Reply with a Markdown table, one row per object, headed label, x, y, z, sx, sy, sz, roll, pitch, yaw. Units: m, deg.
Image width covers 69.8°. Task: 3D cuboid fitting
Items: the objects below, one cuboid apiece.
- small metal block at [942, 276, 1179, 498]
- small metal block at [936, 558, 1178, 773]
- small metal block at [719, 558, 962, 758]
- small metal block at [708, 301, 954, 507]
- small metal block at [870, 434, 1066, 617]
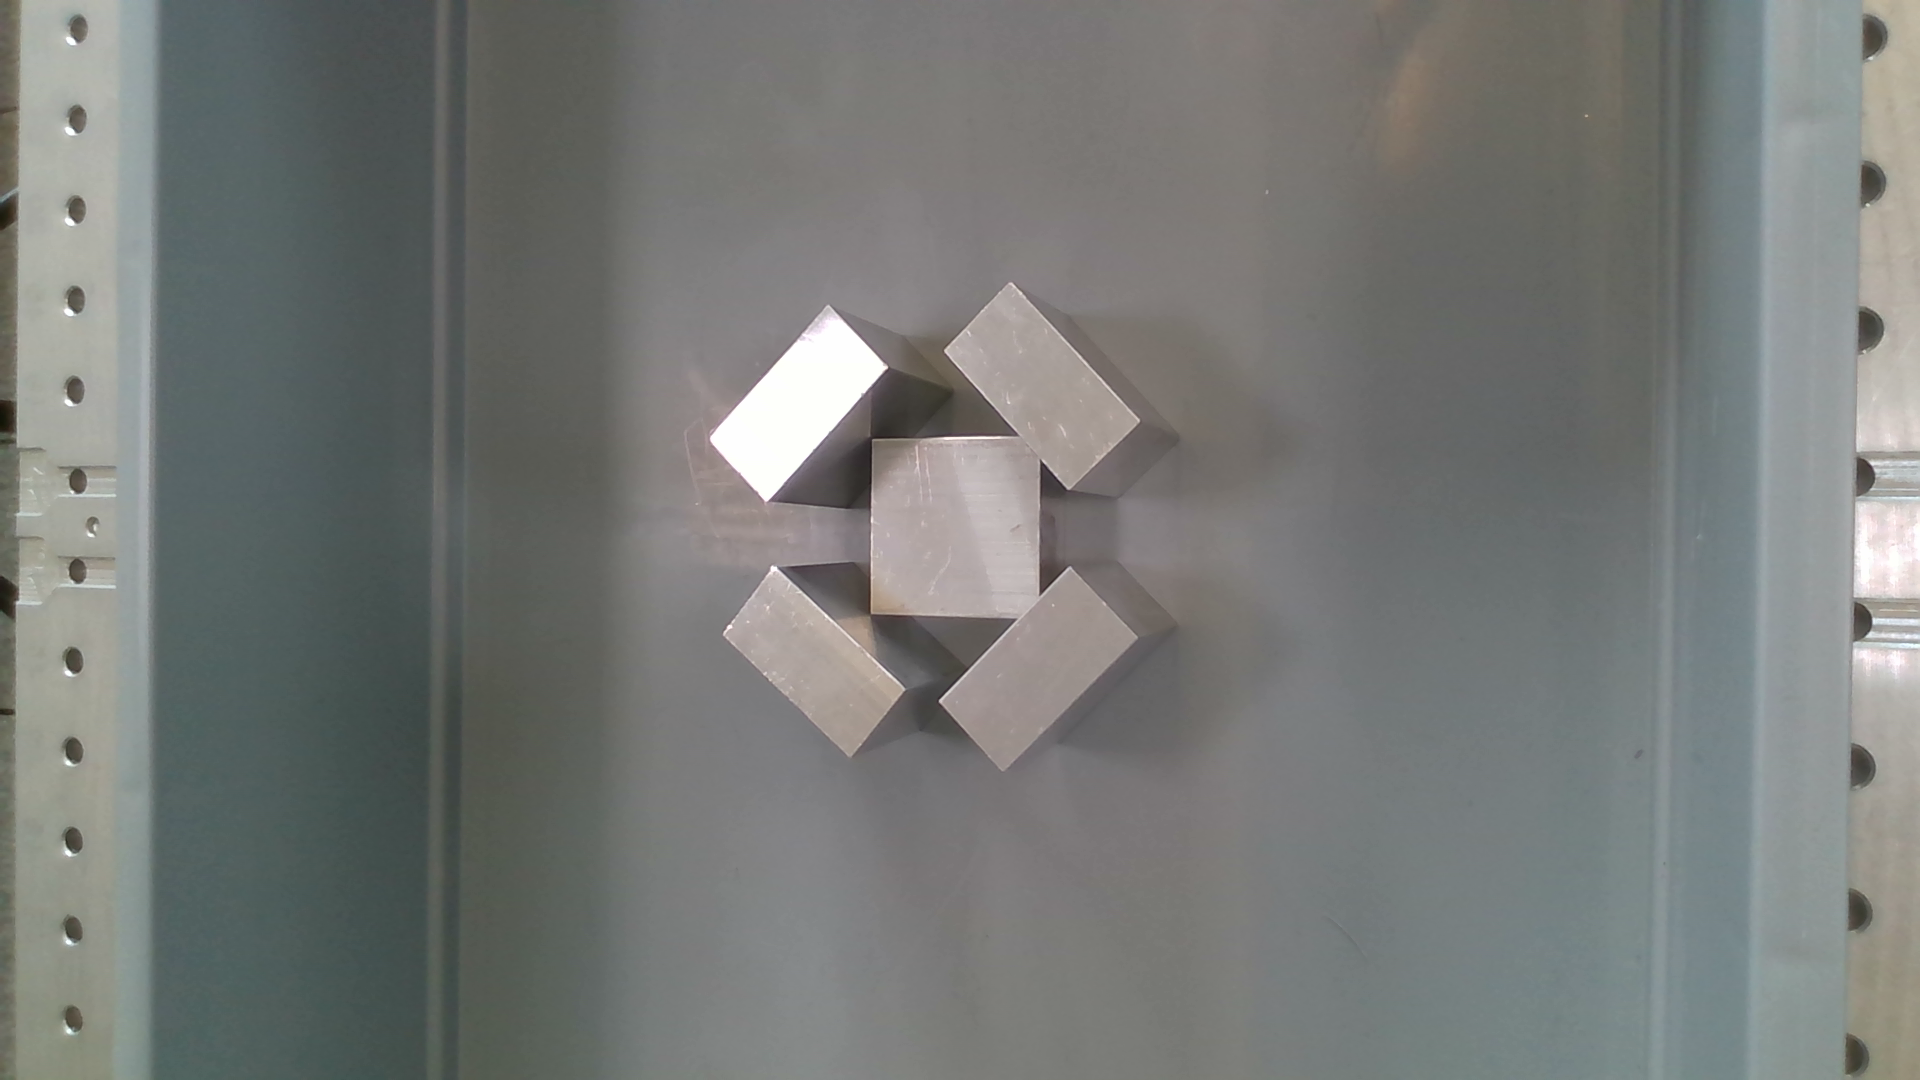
| label | x | y | z | sx | sy | sz | roll | pitch | yaw |
| --- | --- | --- | --- | --- | --- | --- | --- | --- | --- |
| small metal block | 0.028 | -0.039 | 0.368 | 0.025 | 0.050 | 0.050 | -44 | 76 | 14 |
| small metal block | 0.027 | 0.032 | 0.369 | 0.025 | 0.050 | 0.050 | 47 | 106 | 13 |
| small metal block | -0.032 | 0.032 | 0.391 | 0.050 | 0.050 | 0.025 | 42 | 104 | 14 |
| small metal block | -0.035 | -0.037 | 0.392 | 0.050 | 0.050 | 0.025 | -47 | 75 | 14 |
| small metal block | 0.002 | -0.004 | 0.391 | 0.050 | 0.025 | 0.050 | 1 | 91 | 20 |
